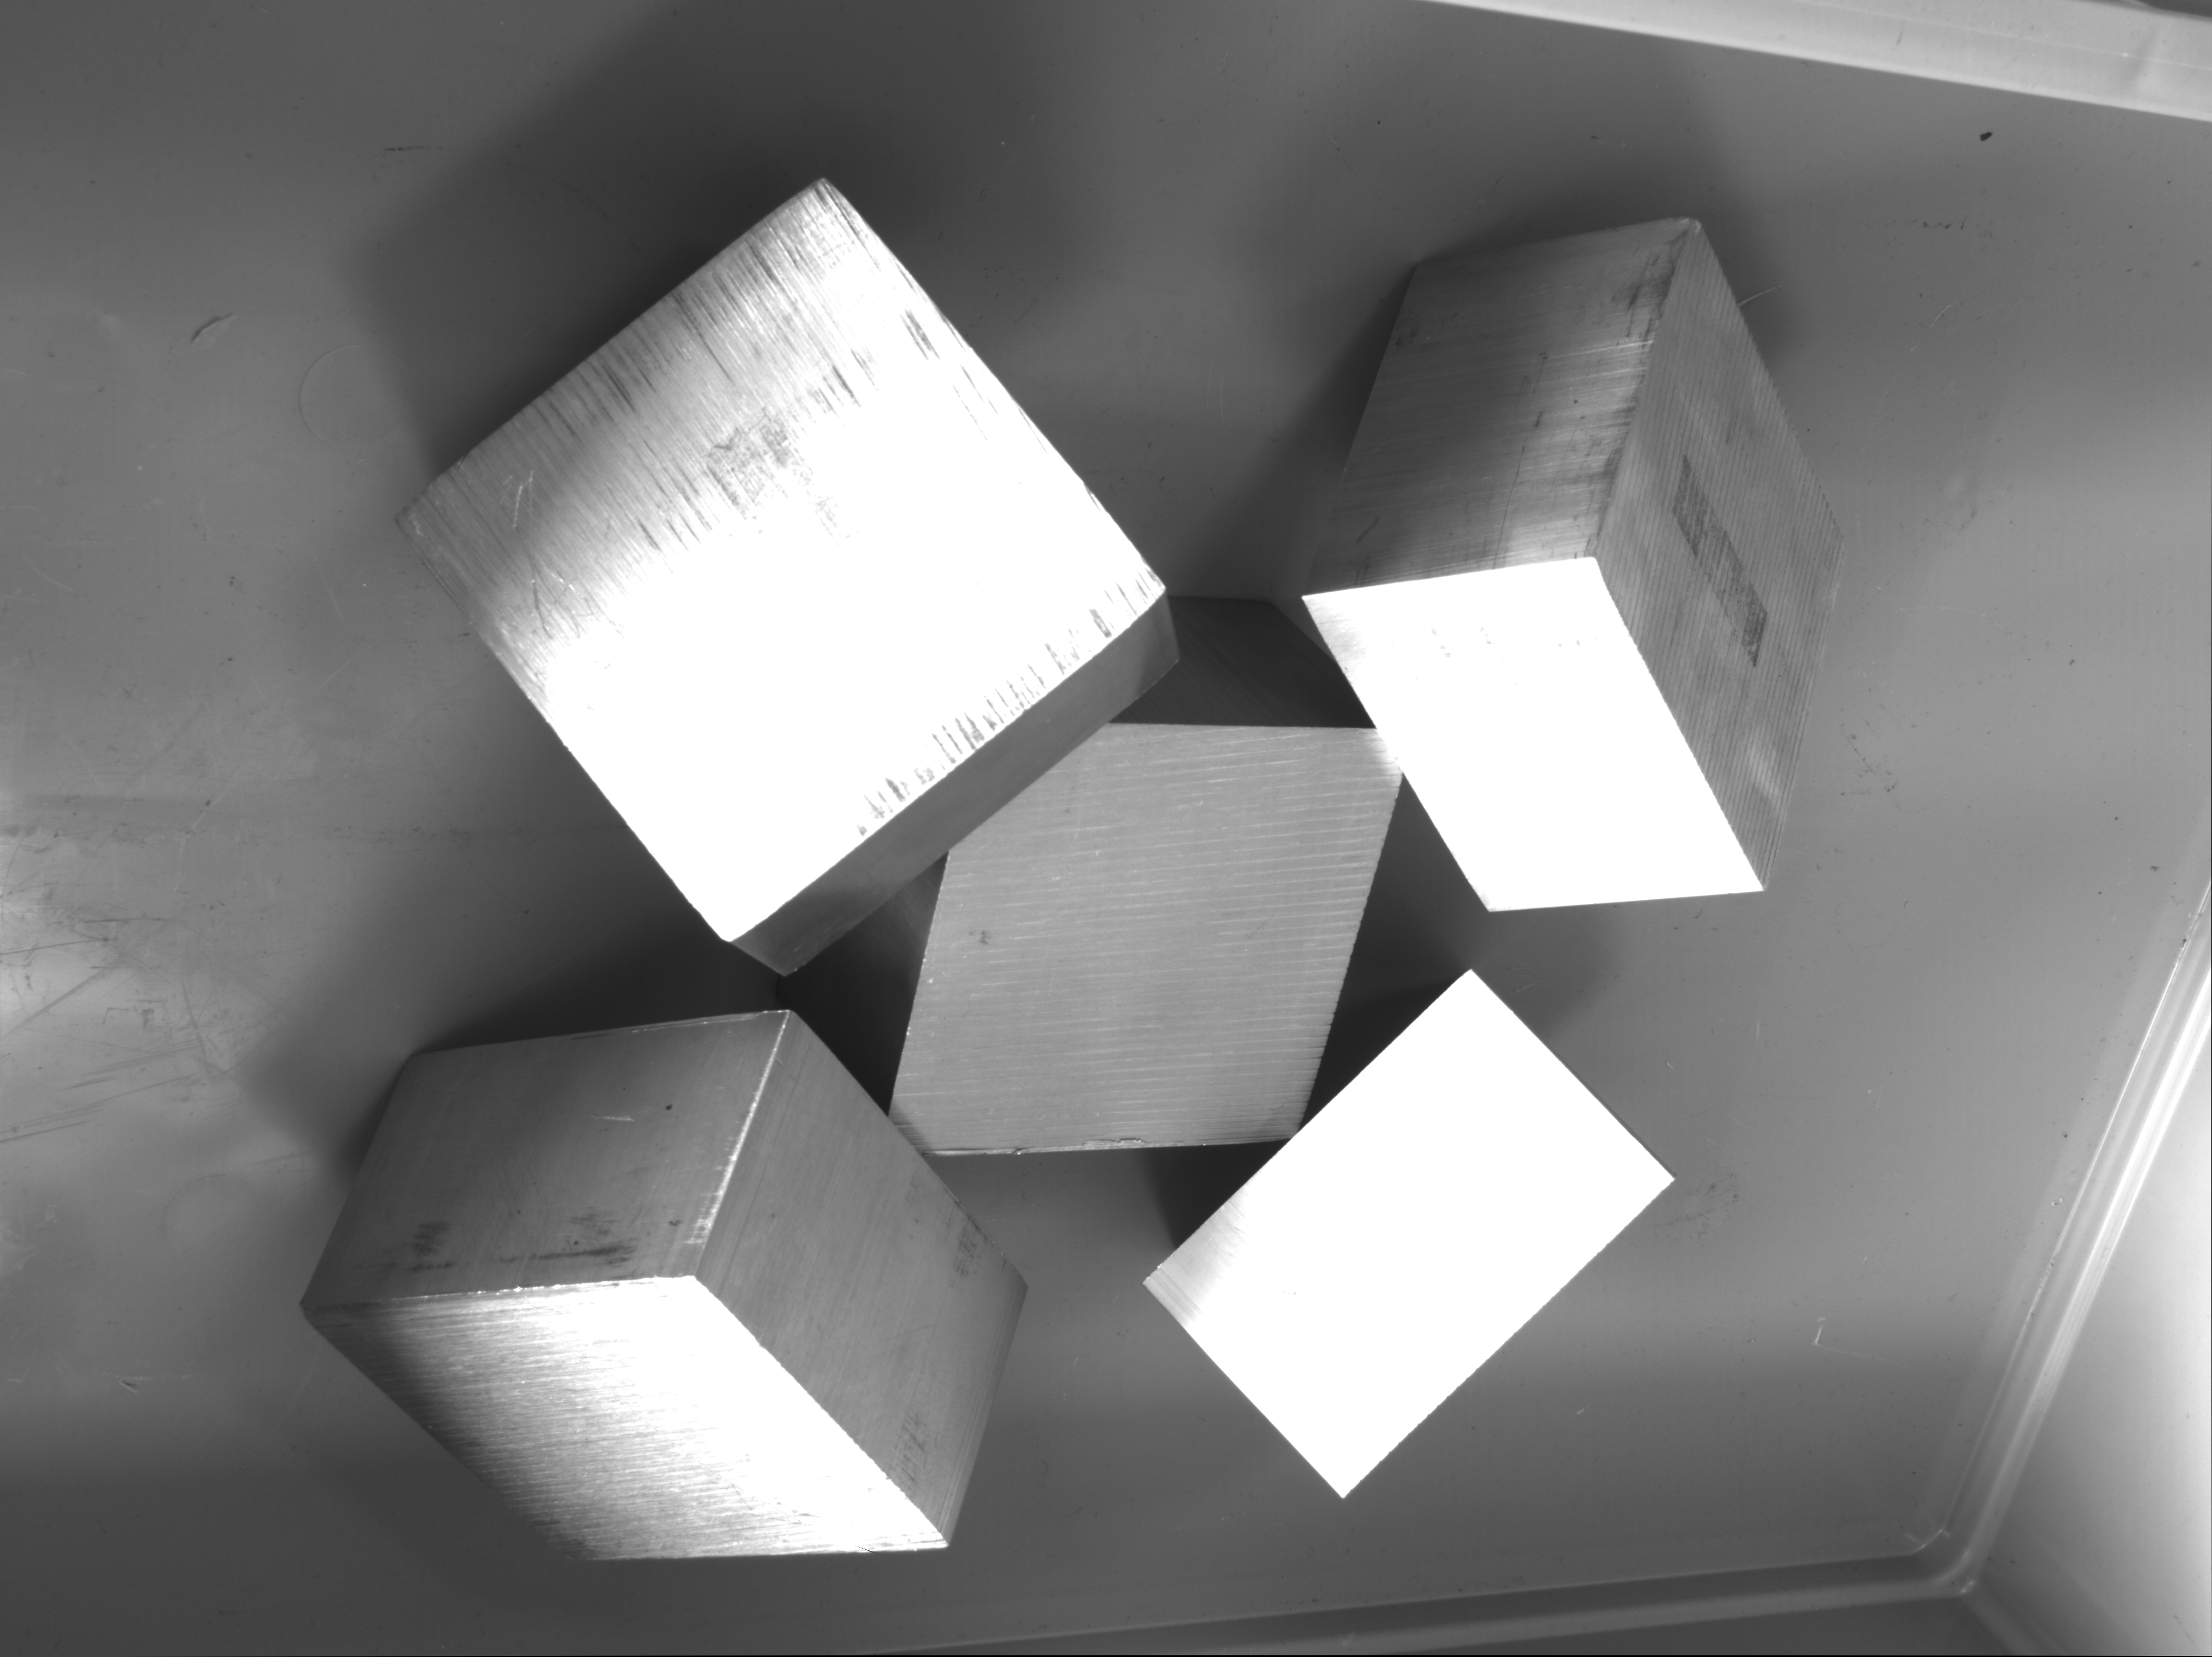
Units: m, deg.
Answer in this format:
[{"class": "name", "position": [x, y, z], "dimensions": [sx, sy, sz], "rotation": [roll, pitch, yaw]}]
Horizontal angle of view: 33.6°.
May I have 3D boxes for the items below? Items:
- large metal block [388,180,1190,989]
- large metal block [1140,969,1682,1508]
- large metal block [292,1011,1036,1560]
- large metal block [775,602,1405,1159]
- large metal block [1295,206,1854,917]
[{"class": "large metal block", "position": [-0.045, -0.034, 0.545], "dimensions": [0.080, 0.080, 0.050], "rotation": [-39, 172, -2]}, {"class": "large metal block", "position": [0.056, 0.072, 0.665], "dimensions": [0.080, 0.050, 0.080], "rotation": [-44, 174, 2]}, {"class": "large metal block", "position": [-0.071, 0.077, 0.602], "dimensions": [0.080, 0.050, 0.080], "rotation": [-7, 137, 30]}, {"class": "large metal block", "position": [-0.003, 0.008, 0.622], "dimensions": [0.080, 0.050, 0.080], "rotation": [1, 118, -29]}, {"class": "large metal block", "position": [0.081, -0.043, 0.610], "dimensions": [0.080, 0.050, 0.080], "rotation": [55, 43, -38]}]
